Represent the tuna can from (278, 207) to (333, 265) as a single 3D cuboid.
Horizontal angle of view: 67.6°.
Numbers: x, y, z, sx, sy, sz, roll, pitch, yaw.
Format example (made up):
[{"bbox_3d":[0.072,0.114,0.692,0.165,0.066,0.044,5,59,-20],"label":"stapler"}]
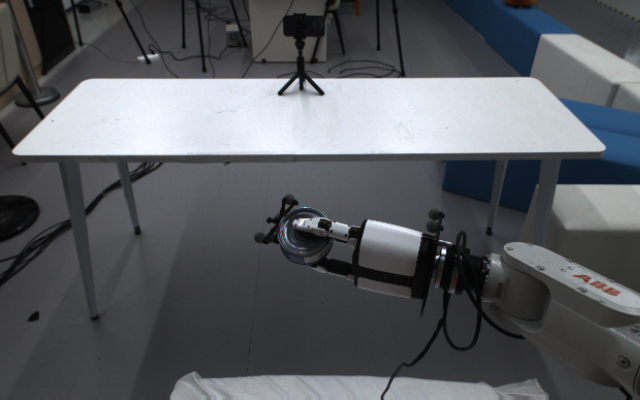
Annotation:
[{"bbox_3d":[-0.020,0.059,0.743,0.085,0.034,0.085,-1,62,1],"label":"tuna can"}]
